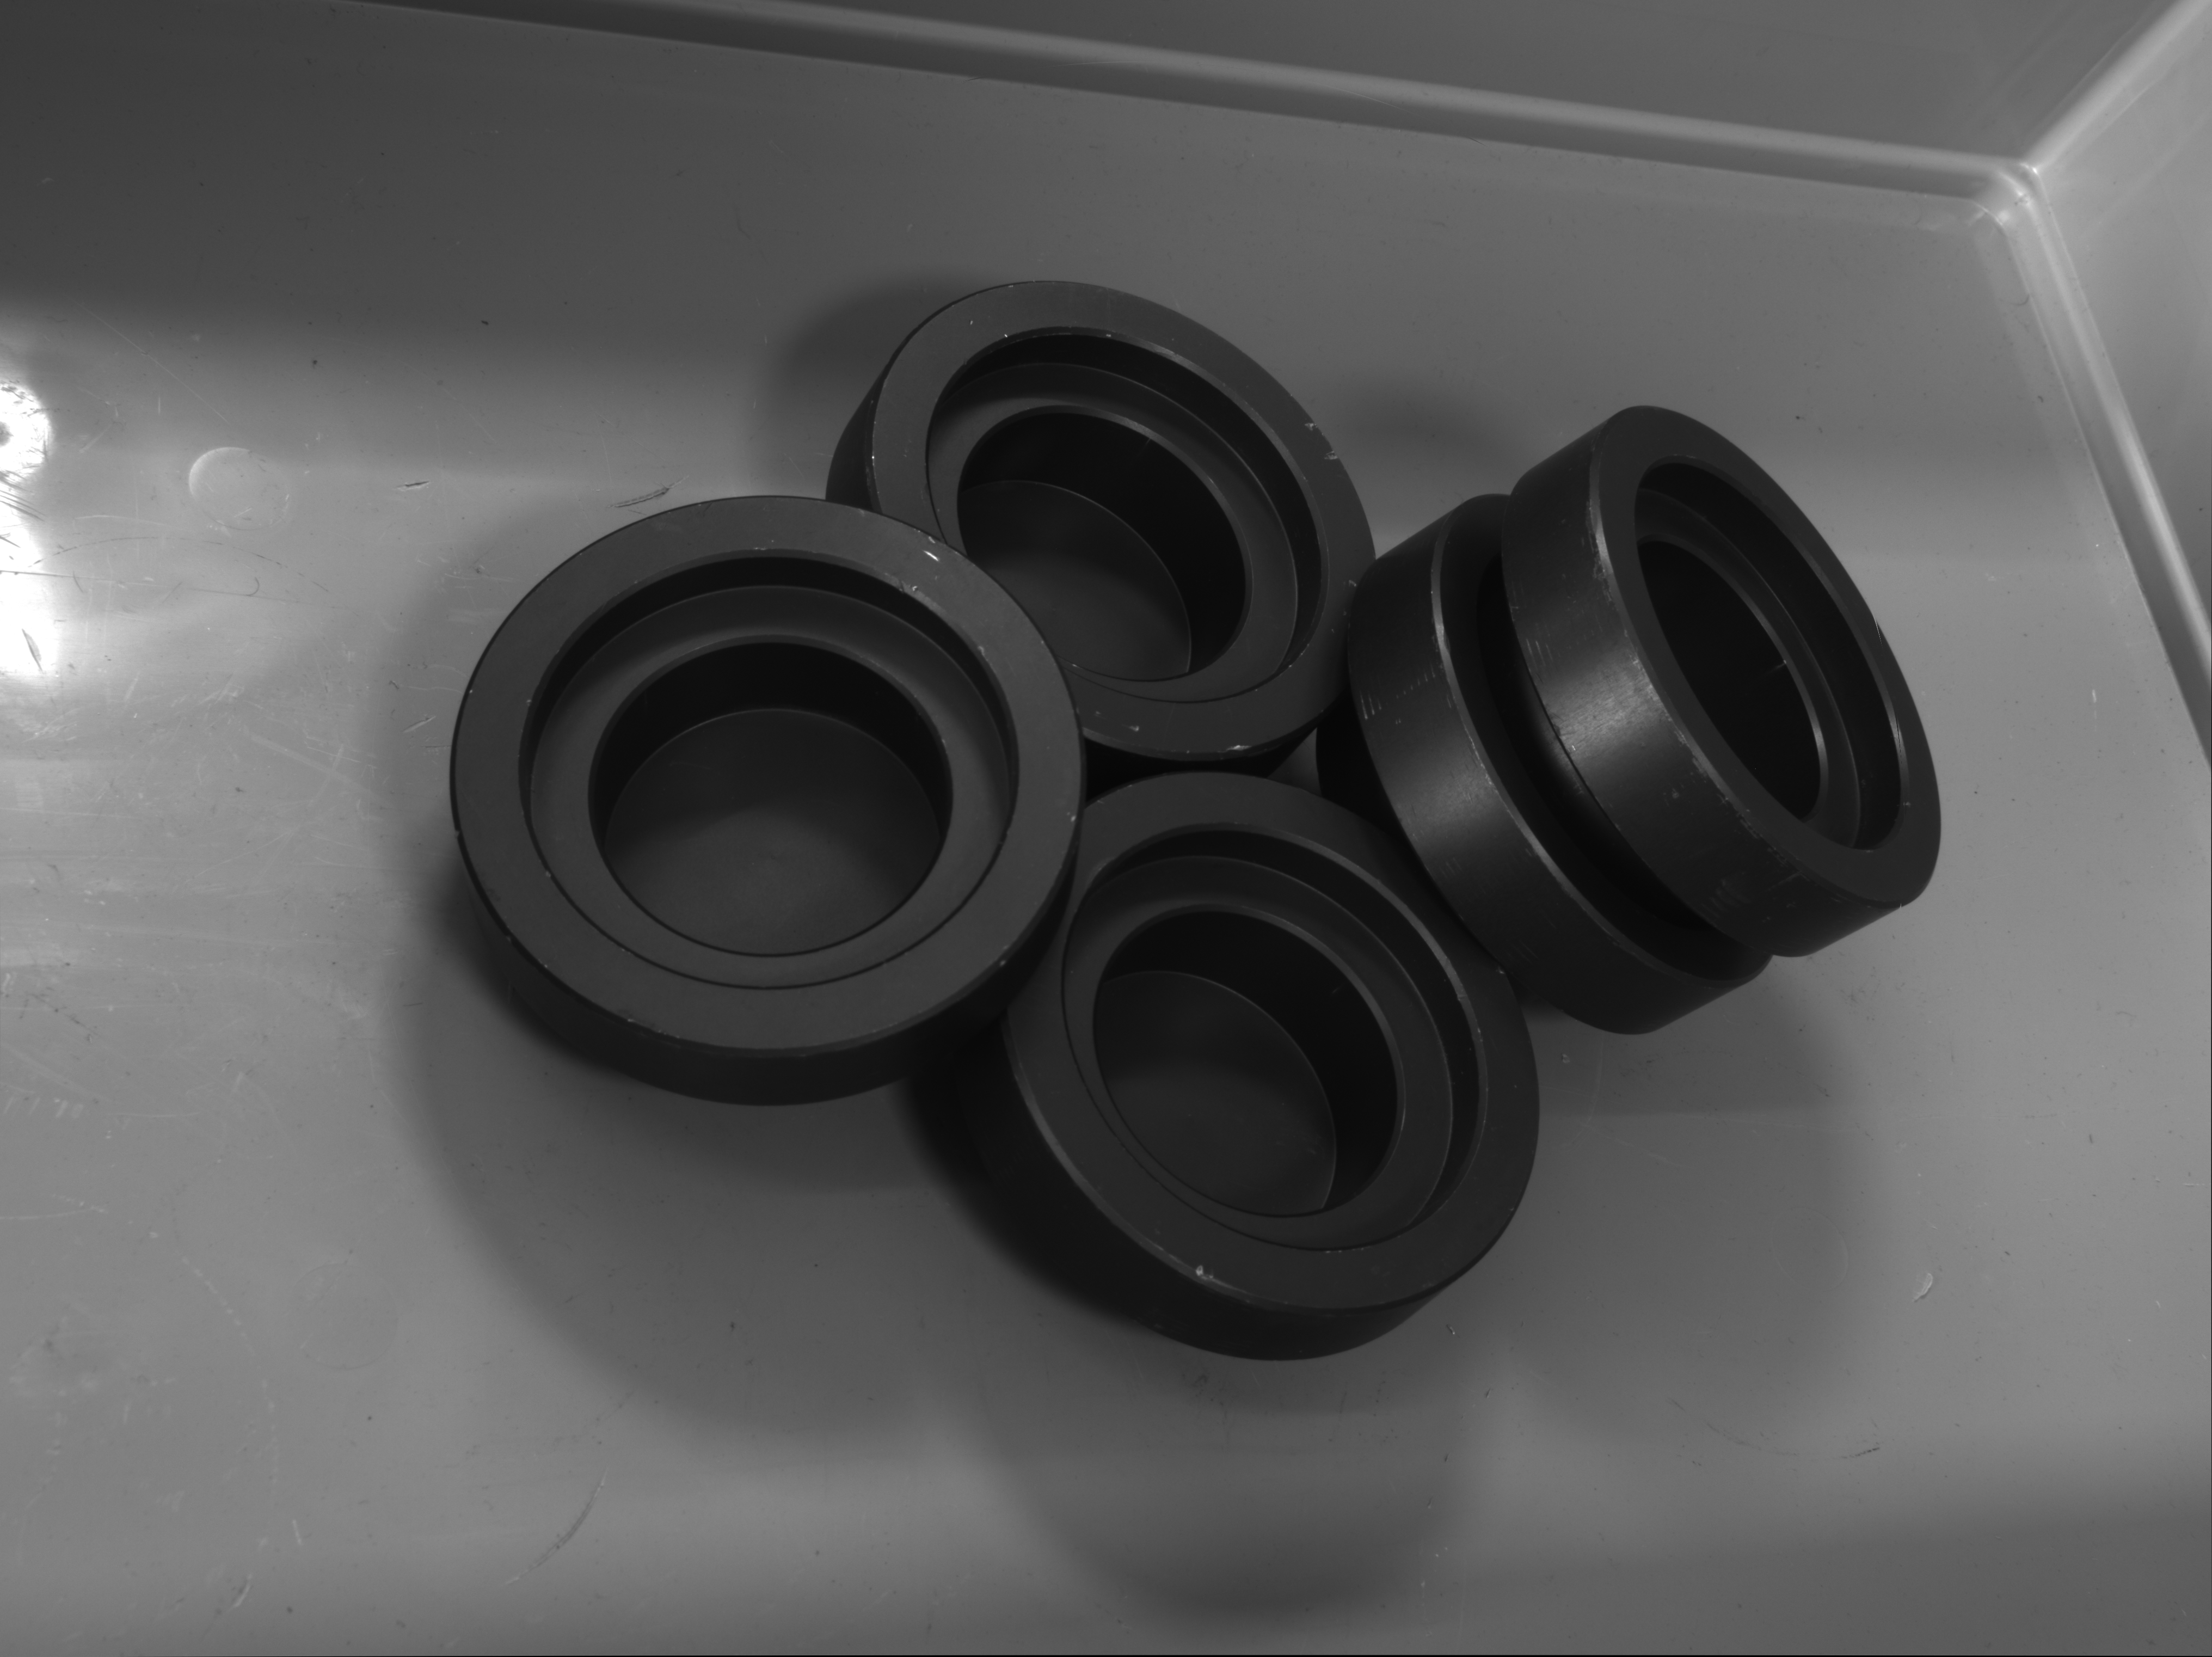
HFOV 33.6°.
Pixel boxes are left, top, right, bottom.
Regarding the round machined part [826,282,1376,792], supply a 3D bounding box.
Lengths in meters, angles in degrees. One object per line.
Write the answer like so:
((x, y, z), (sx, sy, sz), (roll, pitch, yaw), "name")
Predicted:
((-0.004, -0.045, 0.651), (0.098, 0.042, 0.098), (14, 56, -21), "round machined part")

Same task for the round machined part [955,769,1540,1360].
((0.019, 0.043, 0.610), (0.098, 0.042, 0.098), (14, 56, -21), "round machined part")

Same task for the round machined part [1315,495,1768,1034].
((0.075, -0.007, 0.657), (0.098, 0.042, 0.098), (33, 40, -33), "round machined part")

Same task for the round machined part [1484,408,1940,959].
((0.100, -0.021, 0.643), (0.098, 0.042, 0.098), (33, 41, -33), "round machined part")

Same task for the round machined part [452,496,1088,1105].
((-0.053, -0.001, 0.585), (0.098, 0.042, 0.098), (2, 63, -4), "round machined part")
